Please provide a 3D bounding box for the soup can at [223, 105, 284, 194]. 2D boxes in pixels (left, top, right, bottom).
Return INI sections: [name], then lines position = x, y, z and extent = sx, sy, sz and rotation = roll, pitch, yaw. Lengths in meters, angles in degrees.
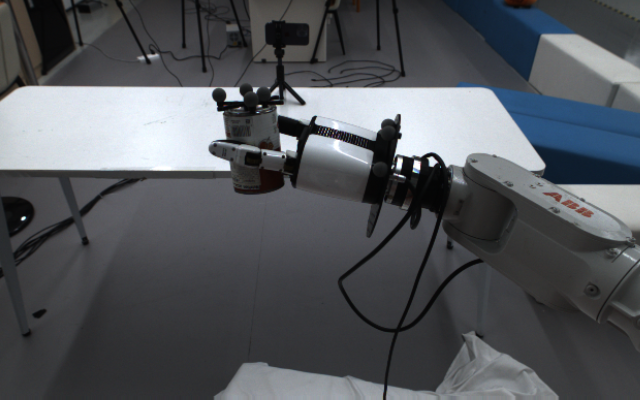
[soup can]
position = -0.081, -0.065, 0.608
extent = 0.067, 0.101, 0.067
rotation = -4, 21, 2
